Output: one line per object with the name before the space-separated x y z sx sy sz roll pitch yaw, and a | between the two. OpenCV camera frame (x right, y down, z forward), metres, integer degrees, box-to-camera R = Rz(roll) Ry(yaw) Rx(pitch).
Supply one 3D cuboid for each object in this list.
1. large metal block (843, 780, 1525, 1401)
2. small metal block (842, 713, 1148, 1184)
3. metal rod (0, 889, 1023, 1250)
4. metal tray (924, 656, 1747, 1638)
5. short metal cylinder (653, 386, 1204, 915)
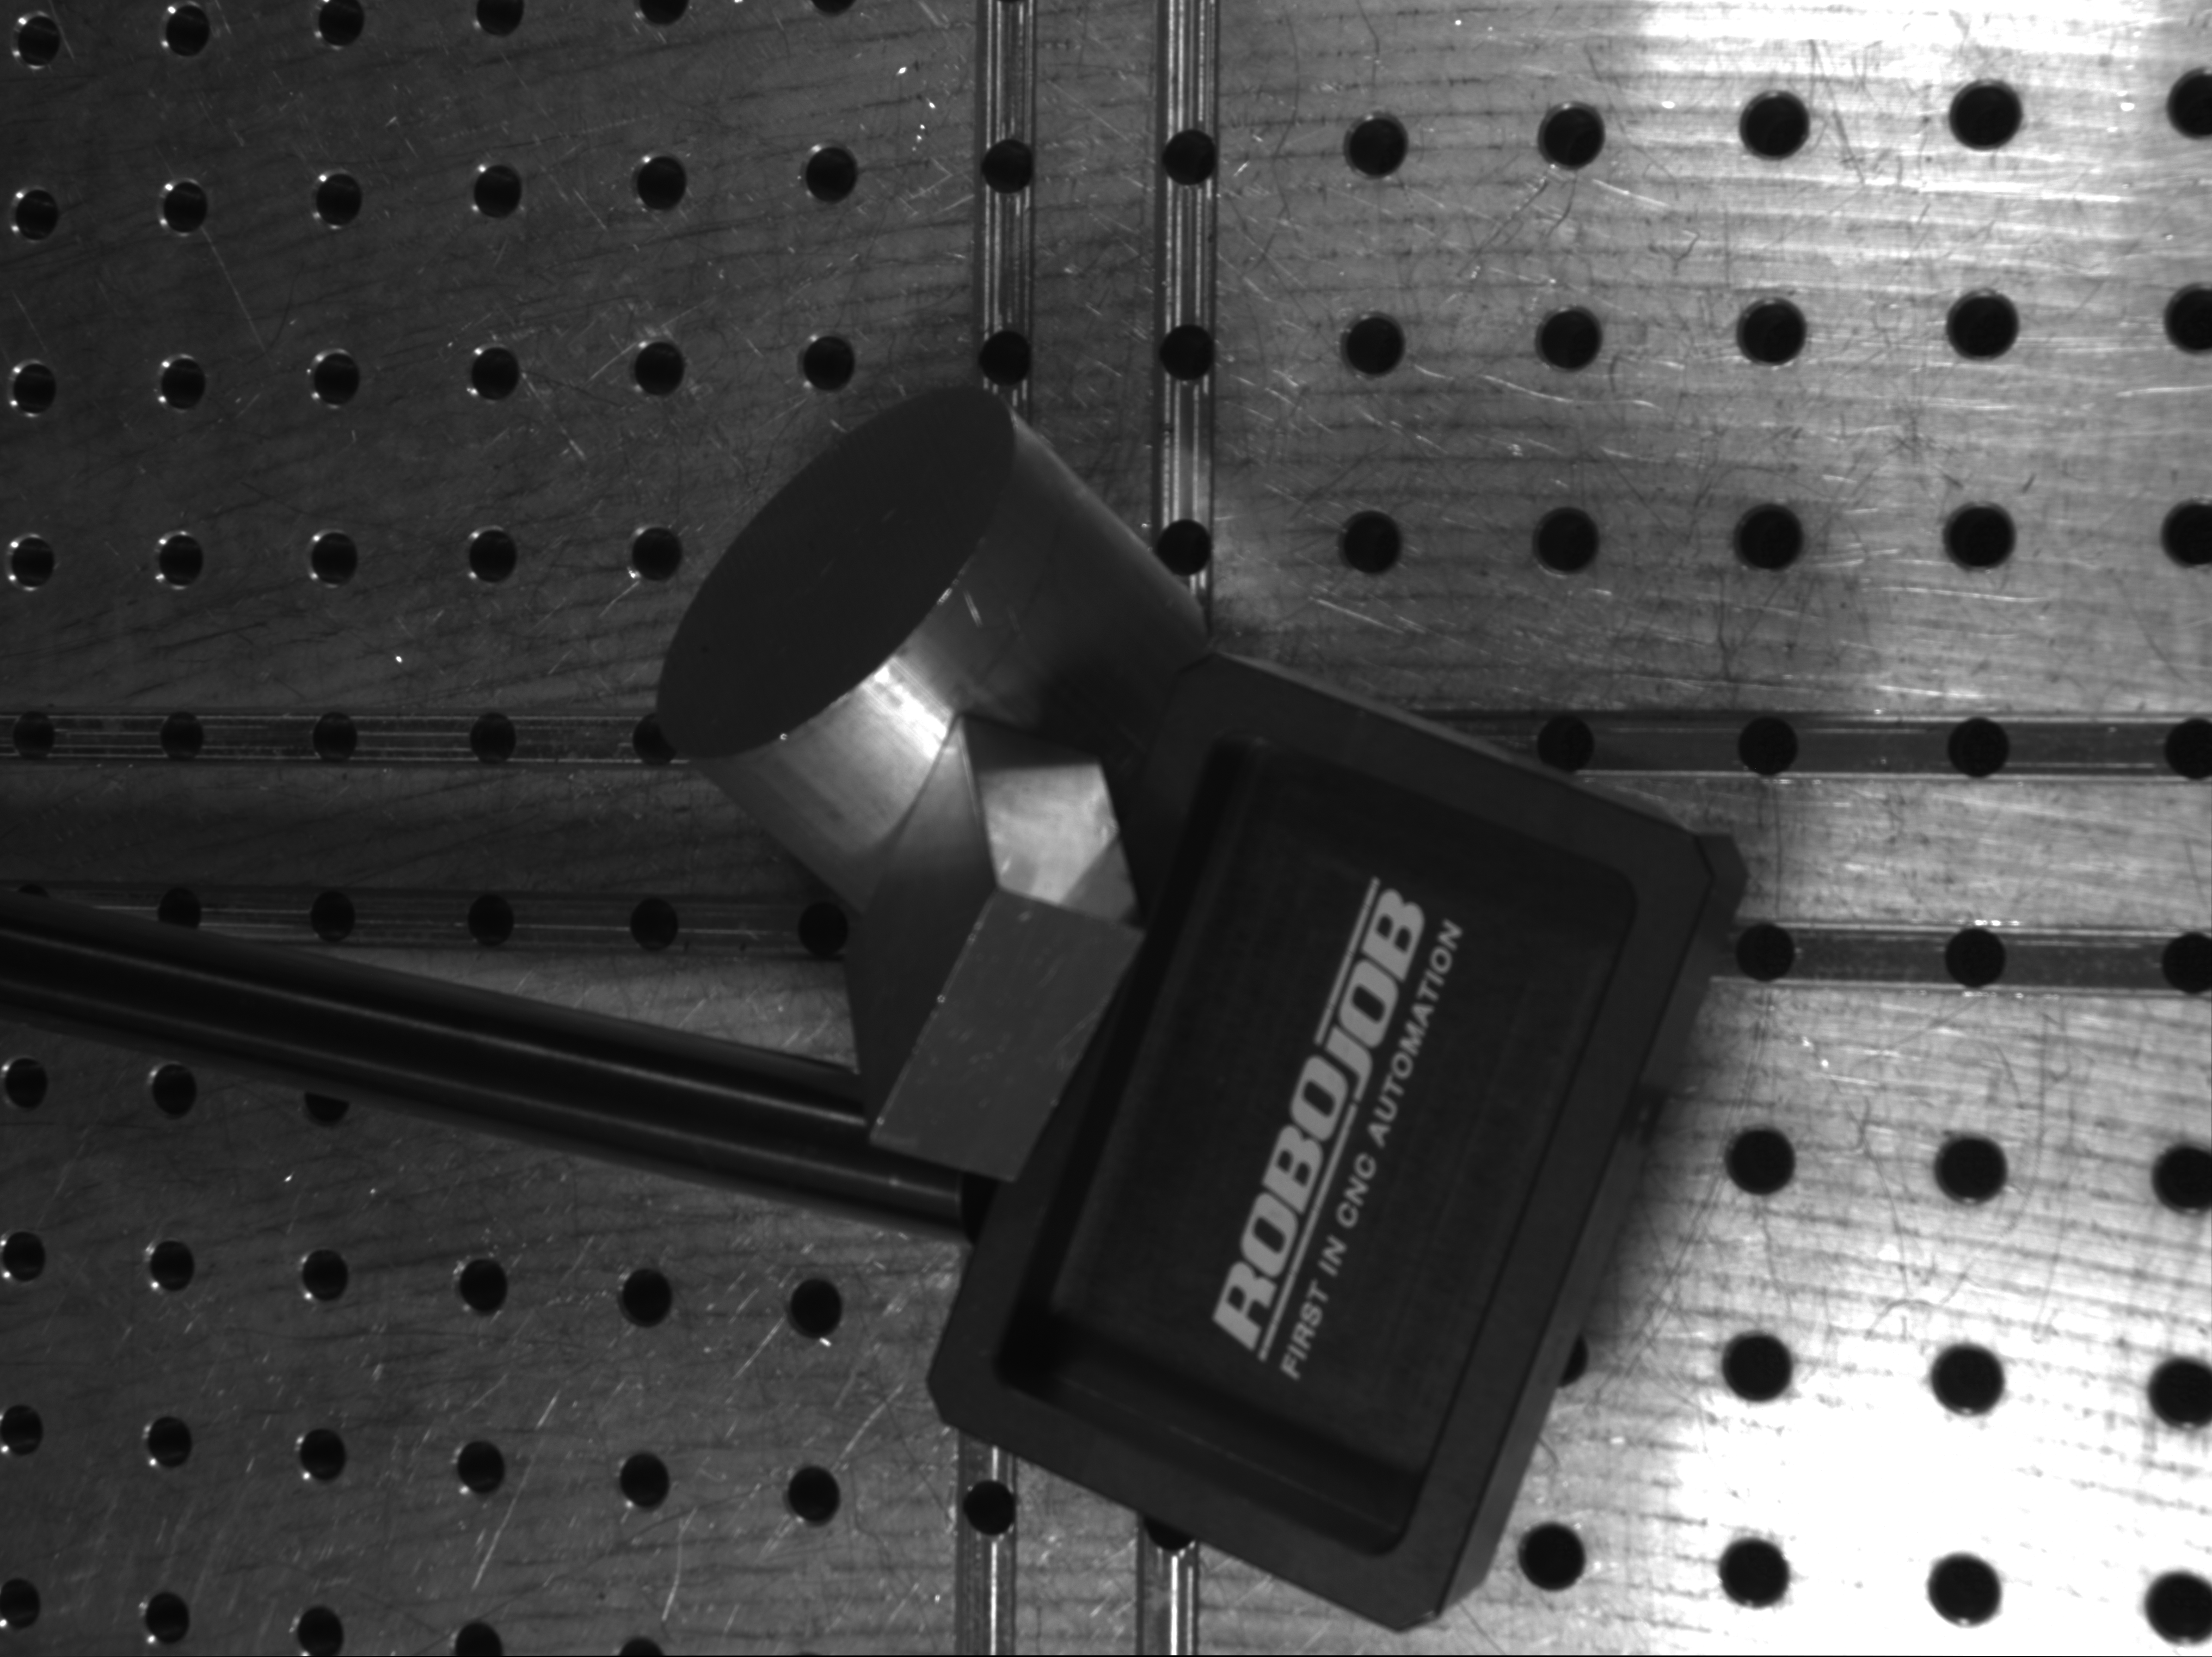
large metal block | 0.016 0.040 0.626 0.080 0.050 0.080 -37 78 16
small metal block | -0.019 0.019 0.576 0.025 0.050 0.050 17 118 -19
metal rod | -0.145 0.035 0.667 0.299 0.025 0.025 9 93 31
metal tray | 0.035 0.048 0.575 0.090 0.030 0.130 22 97 19
short metal cylinder | -0.030 -0.028 0.622 0.080 0.080 0.050 -36 121 16
